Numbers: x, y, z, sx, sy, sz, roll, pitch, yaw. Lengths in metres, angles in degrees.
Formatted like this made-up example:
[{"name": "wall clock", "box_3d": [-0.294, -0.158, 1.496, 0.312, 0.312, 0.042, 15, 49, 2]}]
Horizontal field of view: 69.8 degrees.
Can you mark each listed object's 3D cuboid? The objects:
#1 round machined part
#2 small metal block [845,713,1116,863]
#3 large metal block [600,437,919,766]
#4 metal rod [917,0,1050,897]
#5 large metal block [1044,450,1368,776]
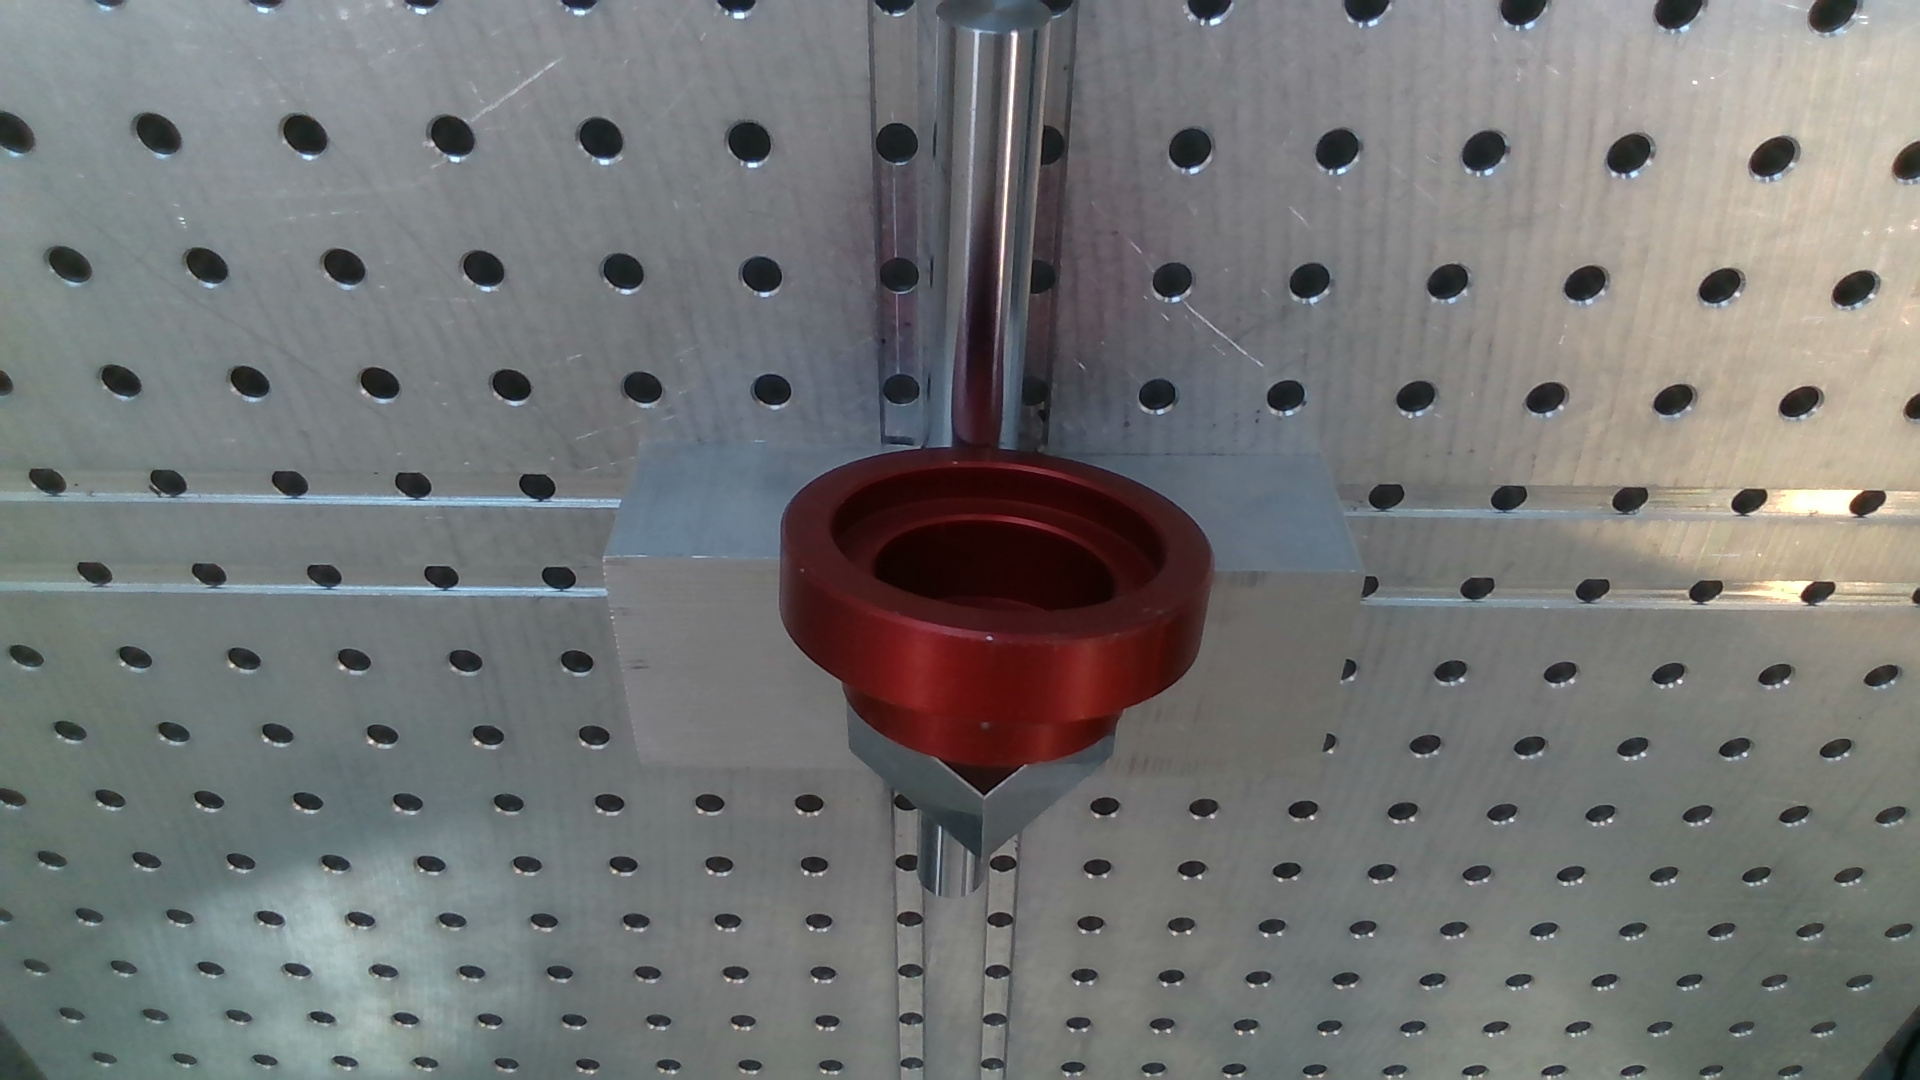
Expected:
[{"name": "round machined part", "box_3d": [0.007, 0.016, 0.320, 0.098, 0.098, 0.042, 3, 116, -3]}, {"name": "small metal block", "box_3d": [0.006, 0.048, 0.359, 0.050, 0.050, 0.025, -31, 140, -32]}, {"name": "large metal block", "box_3d": [-0.051, 0.019, 0.392, 0.080, 0.050, 0.080, 1, 130, -1]}, {"name": "metal rod", "box_3d": [0.002, 0.002, 0.393, 0.025, 0.025, 0.301, 2, 130, -1]}, {"name": "large metal block", "box_3d": [0.063, 0.022, 0.394, 0.080, 0.050, 0.080, 0, 130, 0]}]
